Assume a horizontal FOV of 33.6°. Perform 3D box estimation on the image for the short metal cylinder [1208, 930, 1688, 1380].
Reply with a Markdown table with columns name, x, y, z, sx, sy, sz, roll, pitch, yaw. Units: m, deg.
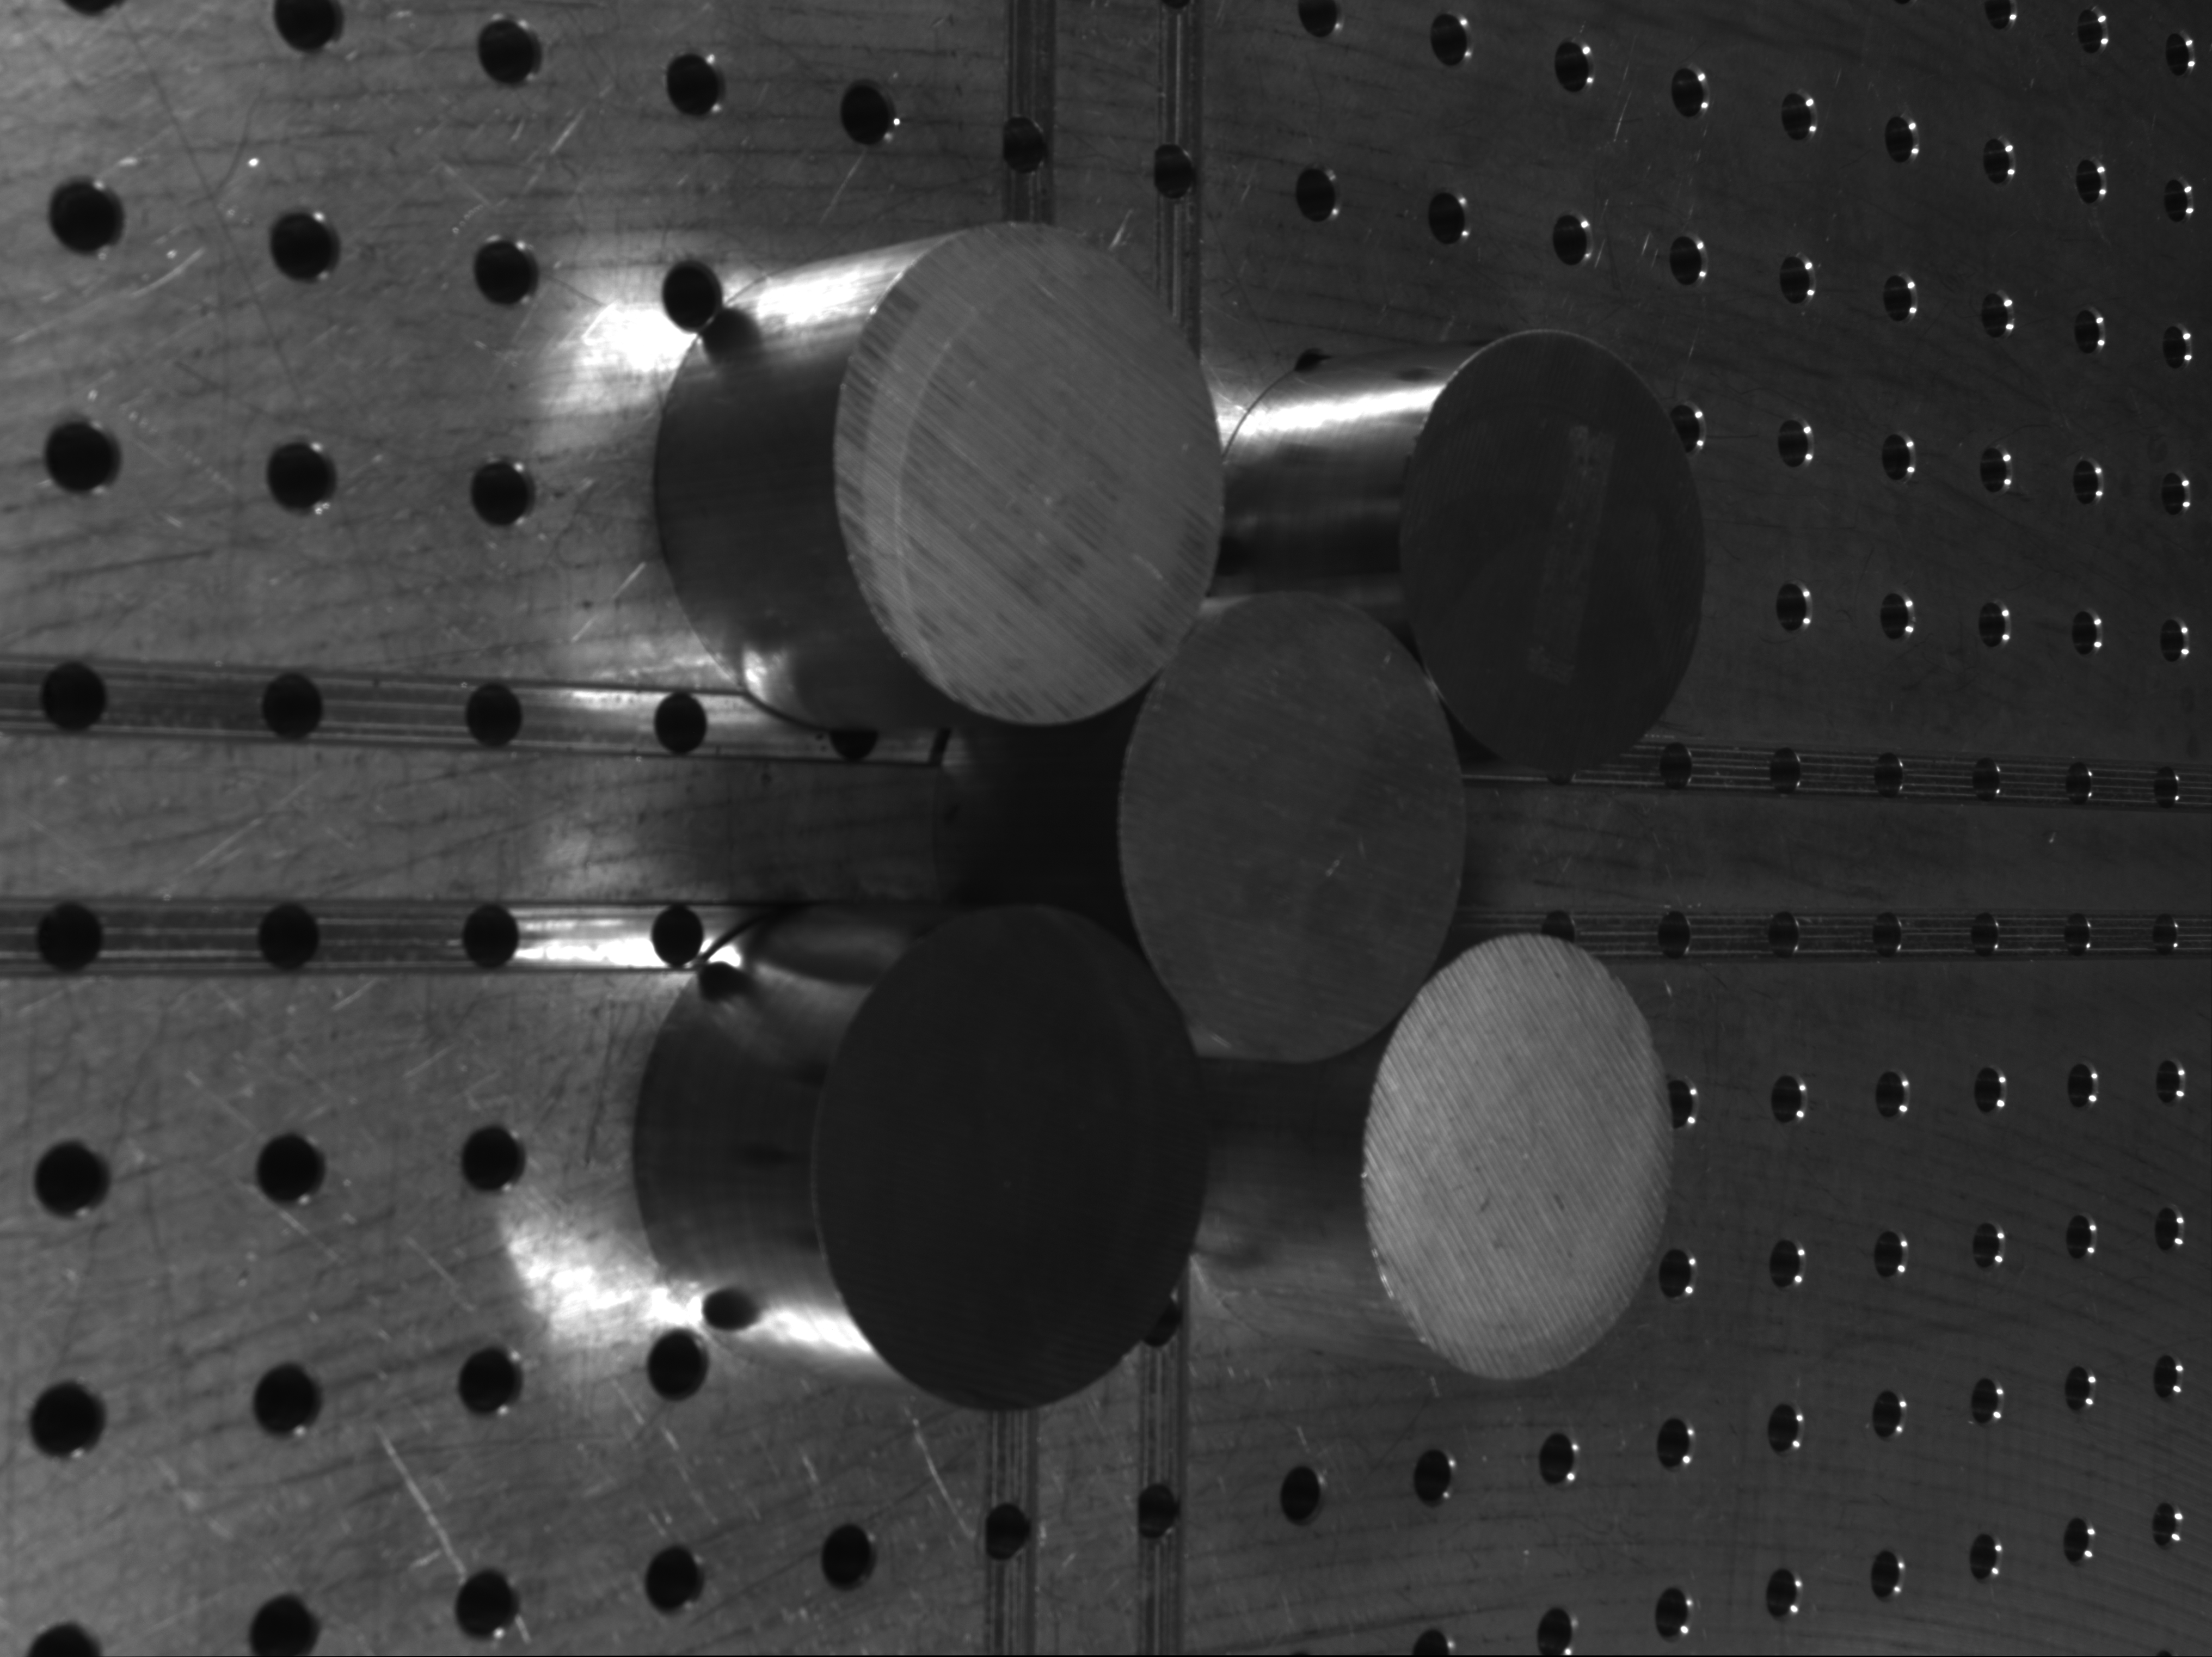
| name | x | y | z | sx | sy | sz | roll | pitch | yaw |
| --- | --- | --- | --- | --- | --- | --- | --- | --- | --- |
| short metal cylinder | 0.062 | 0.059 | 0.675 | 0.080 | 0.050 | 0.080 | 0 | 90 | -40 |

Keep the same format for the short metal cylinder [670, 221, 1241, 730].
| name | x | y | z | sx | sy | sz | roll | pitch | yaw |
| --- | --- | --- | --- | --- | --- | --- | --- | --- | --- |
| short metal cylinder | -0.024 | -0.057 | 0.603 | 0.080 | 0.050 | 0.080 | 0 | 90 | -40 |

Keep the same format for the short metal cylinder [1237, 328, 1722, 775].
| name | x | y | z | sx | sy | sz | roll | pitch | yaw |
| --- | --- | --- | --- | --- | --- | --- | --- | --- | --- |
| short metal cylinder | 0.068 | -0.050 | 0.678 | 0.080 | 0.050 | 0.080 | 0 | 90 | -40 |

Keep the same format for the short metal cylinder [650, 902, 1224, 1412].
| name | x | y | z | sx | sy | sz | roll | pitch | yaw |
| --- | --- | --- | --- | --- | --- | --- | --- | --- | --- |
| short metal cylinder | -0.027 | 0.052 | 0.600 | 0.080 | 0.050 | 0.080 | 0 | 90 | -40 |

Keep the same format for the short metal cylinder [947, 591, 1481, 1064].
| name | x | y | z | sx | sy | sz | roll | pitch | yaw |
| --- | --- | --- | --- | --- | --- | --- | --- | --- | --- |
| short metal cylinder | 0.019 | 0.000 | 0.639 | 0.080 | 0.050 | 0.080 | 0 | 90 | -40 |
